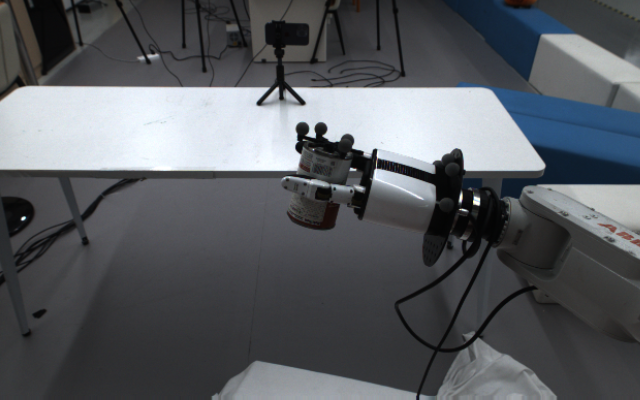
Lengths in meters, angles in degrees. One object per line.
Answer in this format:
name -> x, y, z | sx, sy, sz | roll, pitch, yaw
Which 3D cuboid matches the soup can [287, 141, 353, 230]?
soup can -> 0.001, -0.019, 0.639 | 0.067, 0.101, 0.067 | 13, 18, -4
